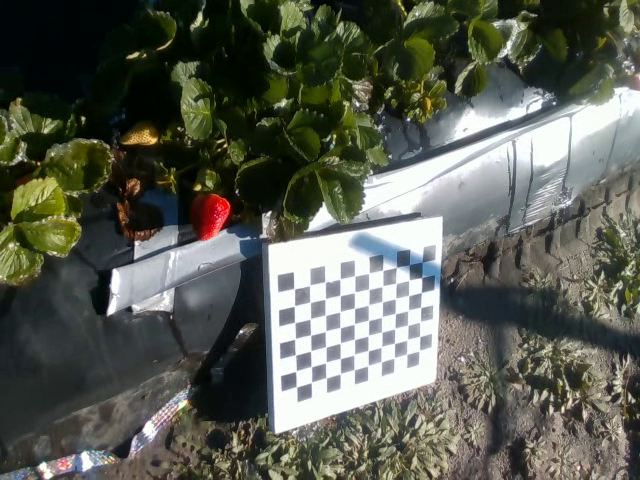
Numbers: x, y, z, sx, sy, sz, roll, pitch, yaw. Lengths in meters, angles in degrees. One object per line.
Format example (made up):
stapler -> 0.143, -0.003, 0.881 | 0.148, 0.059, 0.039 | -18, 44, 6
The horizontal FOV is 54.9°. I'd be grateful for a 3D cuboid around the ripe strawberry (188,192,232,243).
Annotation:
ripe strawberry -> -0.137, -0.023, 0.771 | 0.061, 0.065, 0.057 | 29, -47, -36
